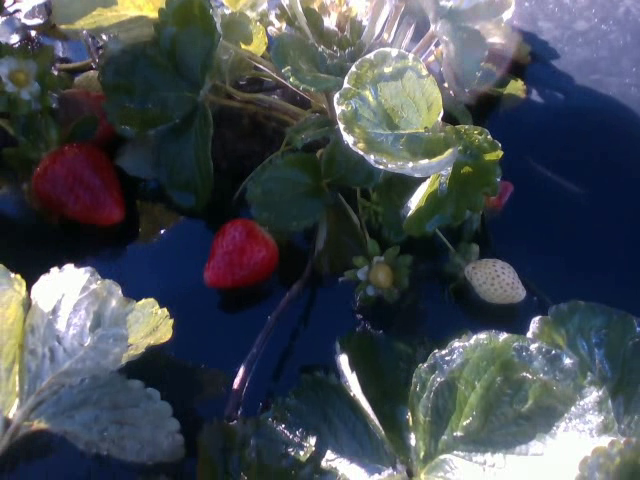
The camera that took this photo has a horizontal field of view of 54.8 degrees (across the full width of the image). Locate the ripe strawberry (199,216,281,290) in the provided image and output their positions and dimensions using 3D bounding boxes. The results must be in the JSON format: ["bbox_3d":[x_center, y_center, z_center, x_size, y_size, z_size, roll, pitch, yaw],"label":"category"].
[{"bbox_3d":[-0.039,0.010,0.294,0.039,0.047,0.040,37,-22,8],"label":"ripe strawberry"}]

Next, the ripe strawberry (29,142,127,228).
[{"bbox_3d":[-0.124,-0.026,0.317,0.044,0.056,0.040,-41,-10,-9],"label":"ripe strawberry"}]
